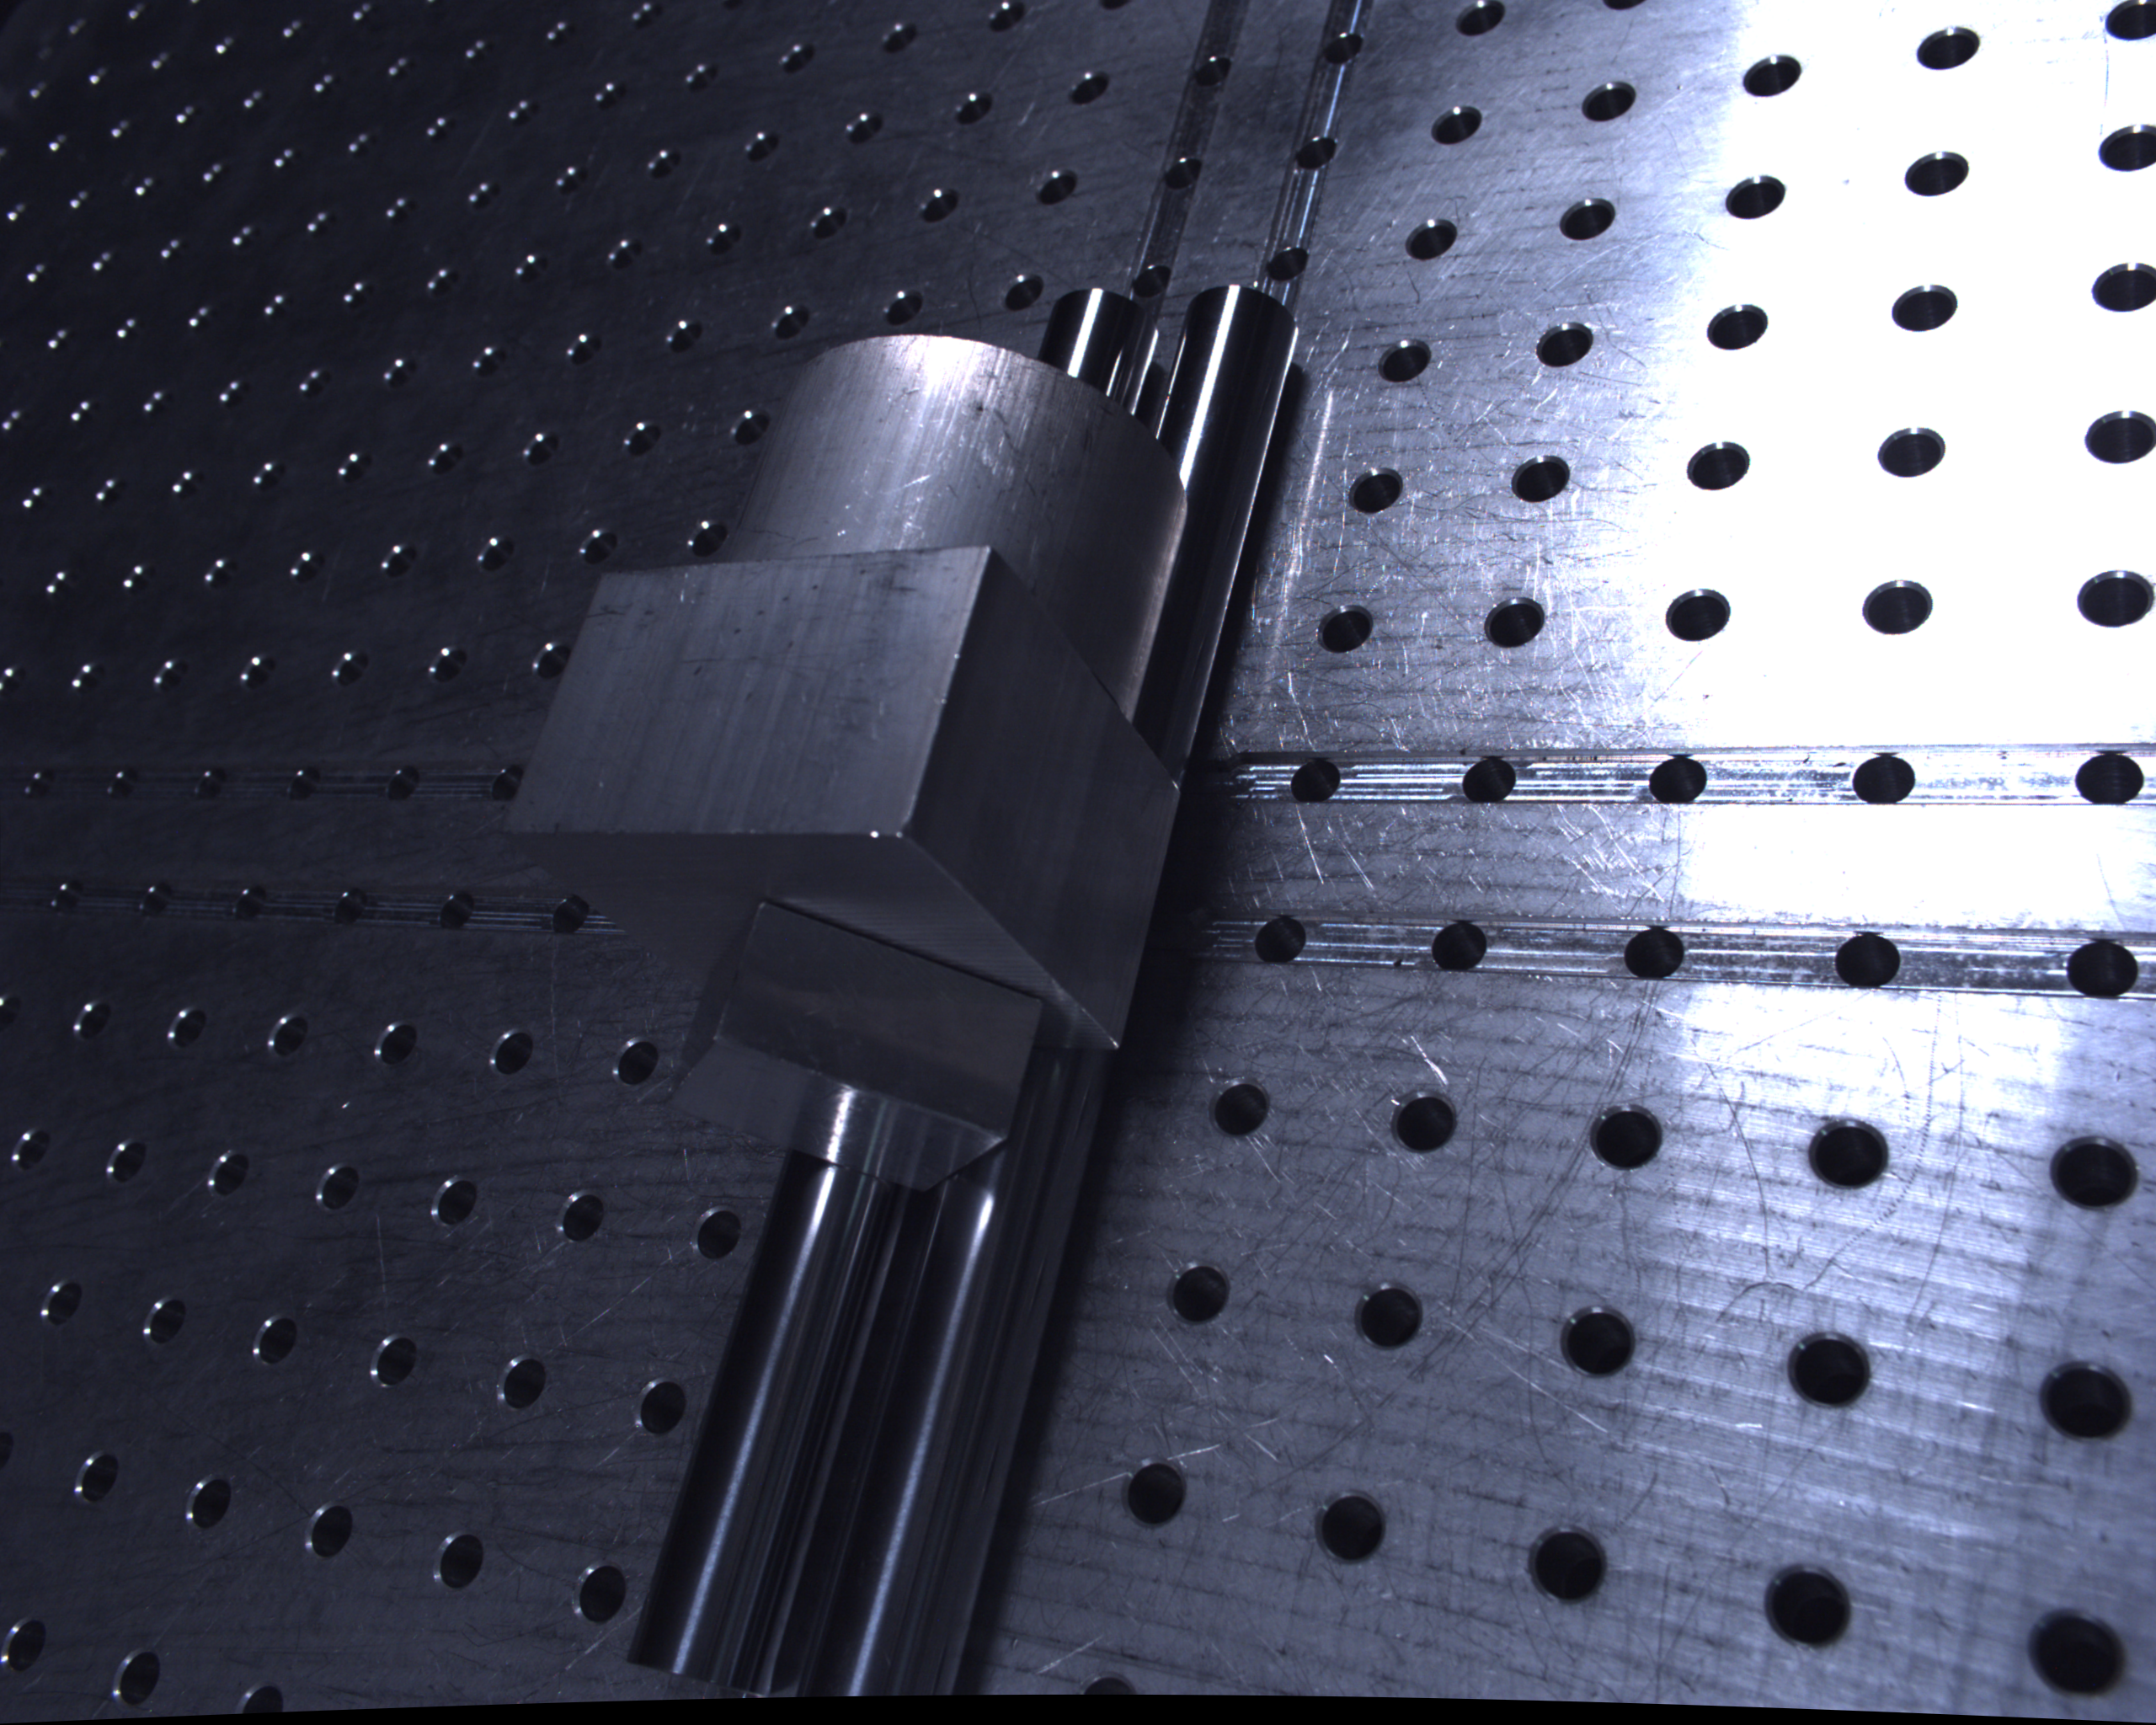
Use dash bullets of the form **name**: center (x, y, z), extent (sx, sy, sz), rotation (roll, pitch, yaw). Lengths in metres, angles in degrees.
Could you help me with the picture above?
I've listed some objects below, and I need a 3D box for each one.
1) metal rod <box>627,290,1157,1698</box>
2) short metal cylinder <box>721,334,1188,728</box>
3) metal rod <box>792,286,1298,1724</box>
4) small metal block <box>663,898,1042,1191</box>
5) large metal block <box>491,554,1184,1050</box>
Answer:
- **metal rod**: center (-0.029, 0.008, 0.419), extent (0.025, 0.025, 0.300), rotation (1, 62, 28)
- **short metal cylinder**: center (-0.024, -0.052, 0.389), extent (0.080, 0.080, 0.050), rotation (1, 62, 28)
- **metal rod**: center (0.001, 0.012, 0.400), extent (0.025, 0.025, 0.300), rotation (1, 62, 28)
- **small metal block**: center (-0.040, 0.033, 0.362), extent (0.050, 0.050, 0.025), rotation (20, 65, -12)
- **large metal block**: center (-0.038, -0.008, 0.365), extent (0.080, 0.080, 0.050), rotation (0, 62, 28)
